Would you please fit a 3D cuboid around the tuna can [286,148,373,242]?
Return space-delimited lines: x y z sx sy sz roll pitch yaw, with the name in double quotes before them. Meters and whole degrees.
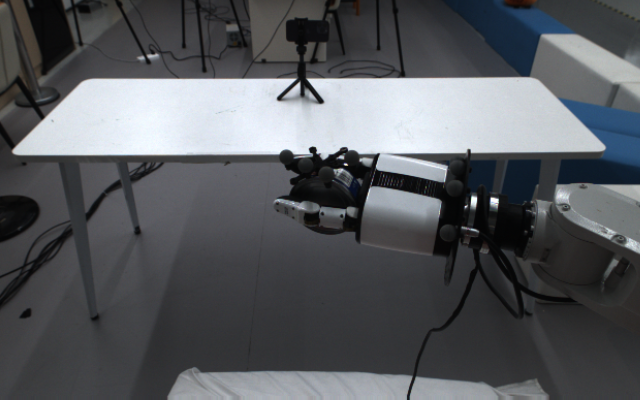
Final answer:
"tuna can" 0.011 0.003 0.583 0.085 0.085 0.034 11 39 13
